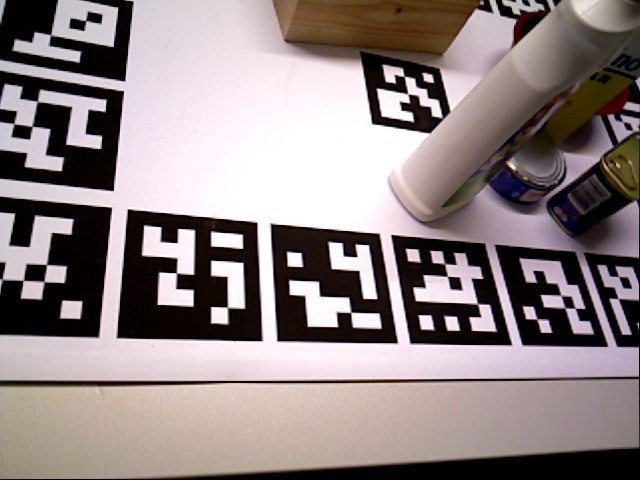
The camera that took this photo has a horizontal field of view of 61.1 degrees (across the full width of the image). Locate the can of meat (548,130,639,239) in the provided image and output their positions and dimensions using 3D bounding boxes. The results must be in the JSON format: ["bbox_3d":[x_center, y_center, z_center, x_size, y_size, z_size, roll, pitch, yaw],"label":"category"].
[{"bbox_3d":[0.297,-0.055,0.561,0.099,0.086,0.057,-27,72,-33],"label":"can of meat"}]

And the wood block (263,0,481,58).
[{"bbox_3d":[0.051,-0.264,0.572,0.203,0.092,0.090,-4,68,-25],"label":"wood block"}]

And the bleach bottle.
[{"bbox_3d":[0.155,-0.112,0.428,0.100,0.257,0.068,-22,71,-31],"label":"bleach bottle"}]

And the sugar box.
[{"bbox_3d":[0.247,-0.162,0.534,0.092,0.180,0.044,21,58,-6],"label":"sugar box"}]

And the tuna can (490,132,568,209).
[{"bbox_3d":[0.209,-0.075,0.559,0.085,0.034,0.085,8,63,-17],"label":"tuna can"}]

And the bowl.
[{"bbox_3d":[0.290,-0.198,0.650,0.160,0.056,0.159,8,60,-14],"label":"bowl"}]
